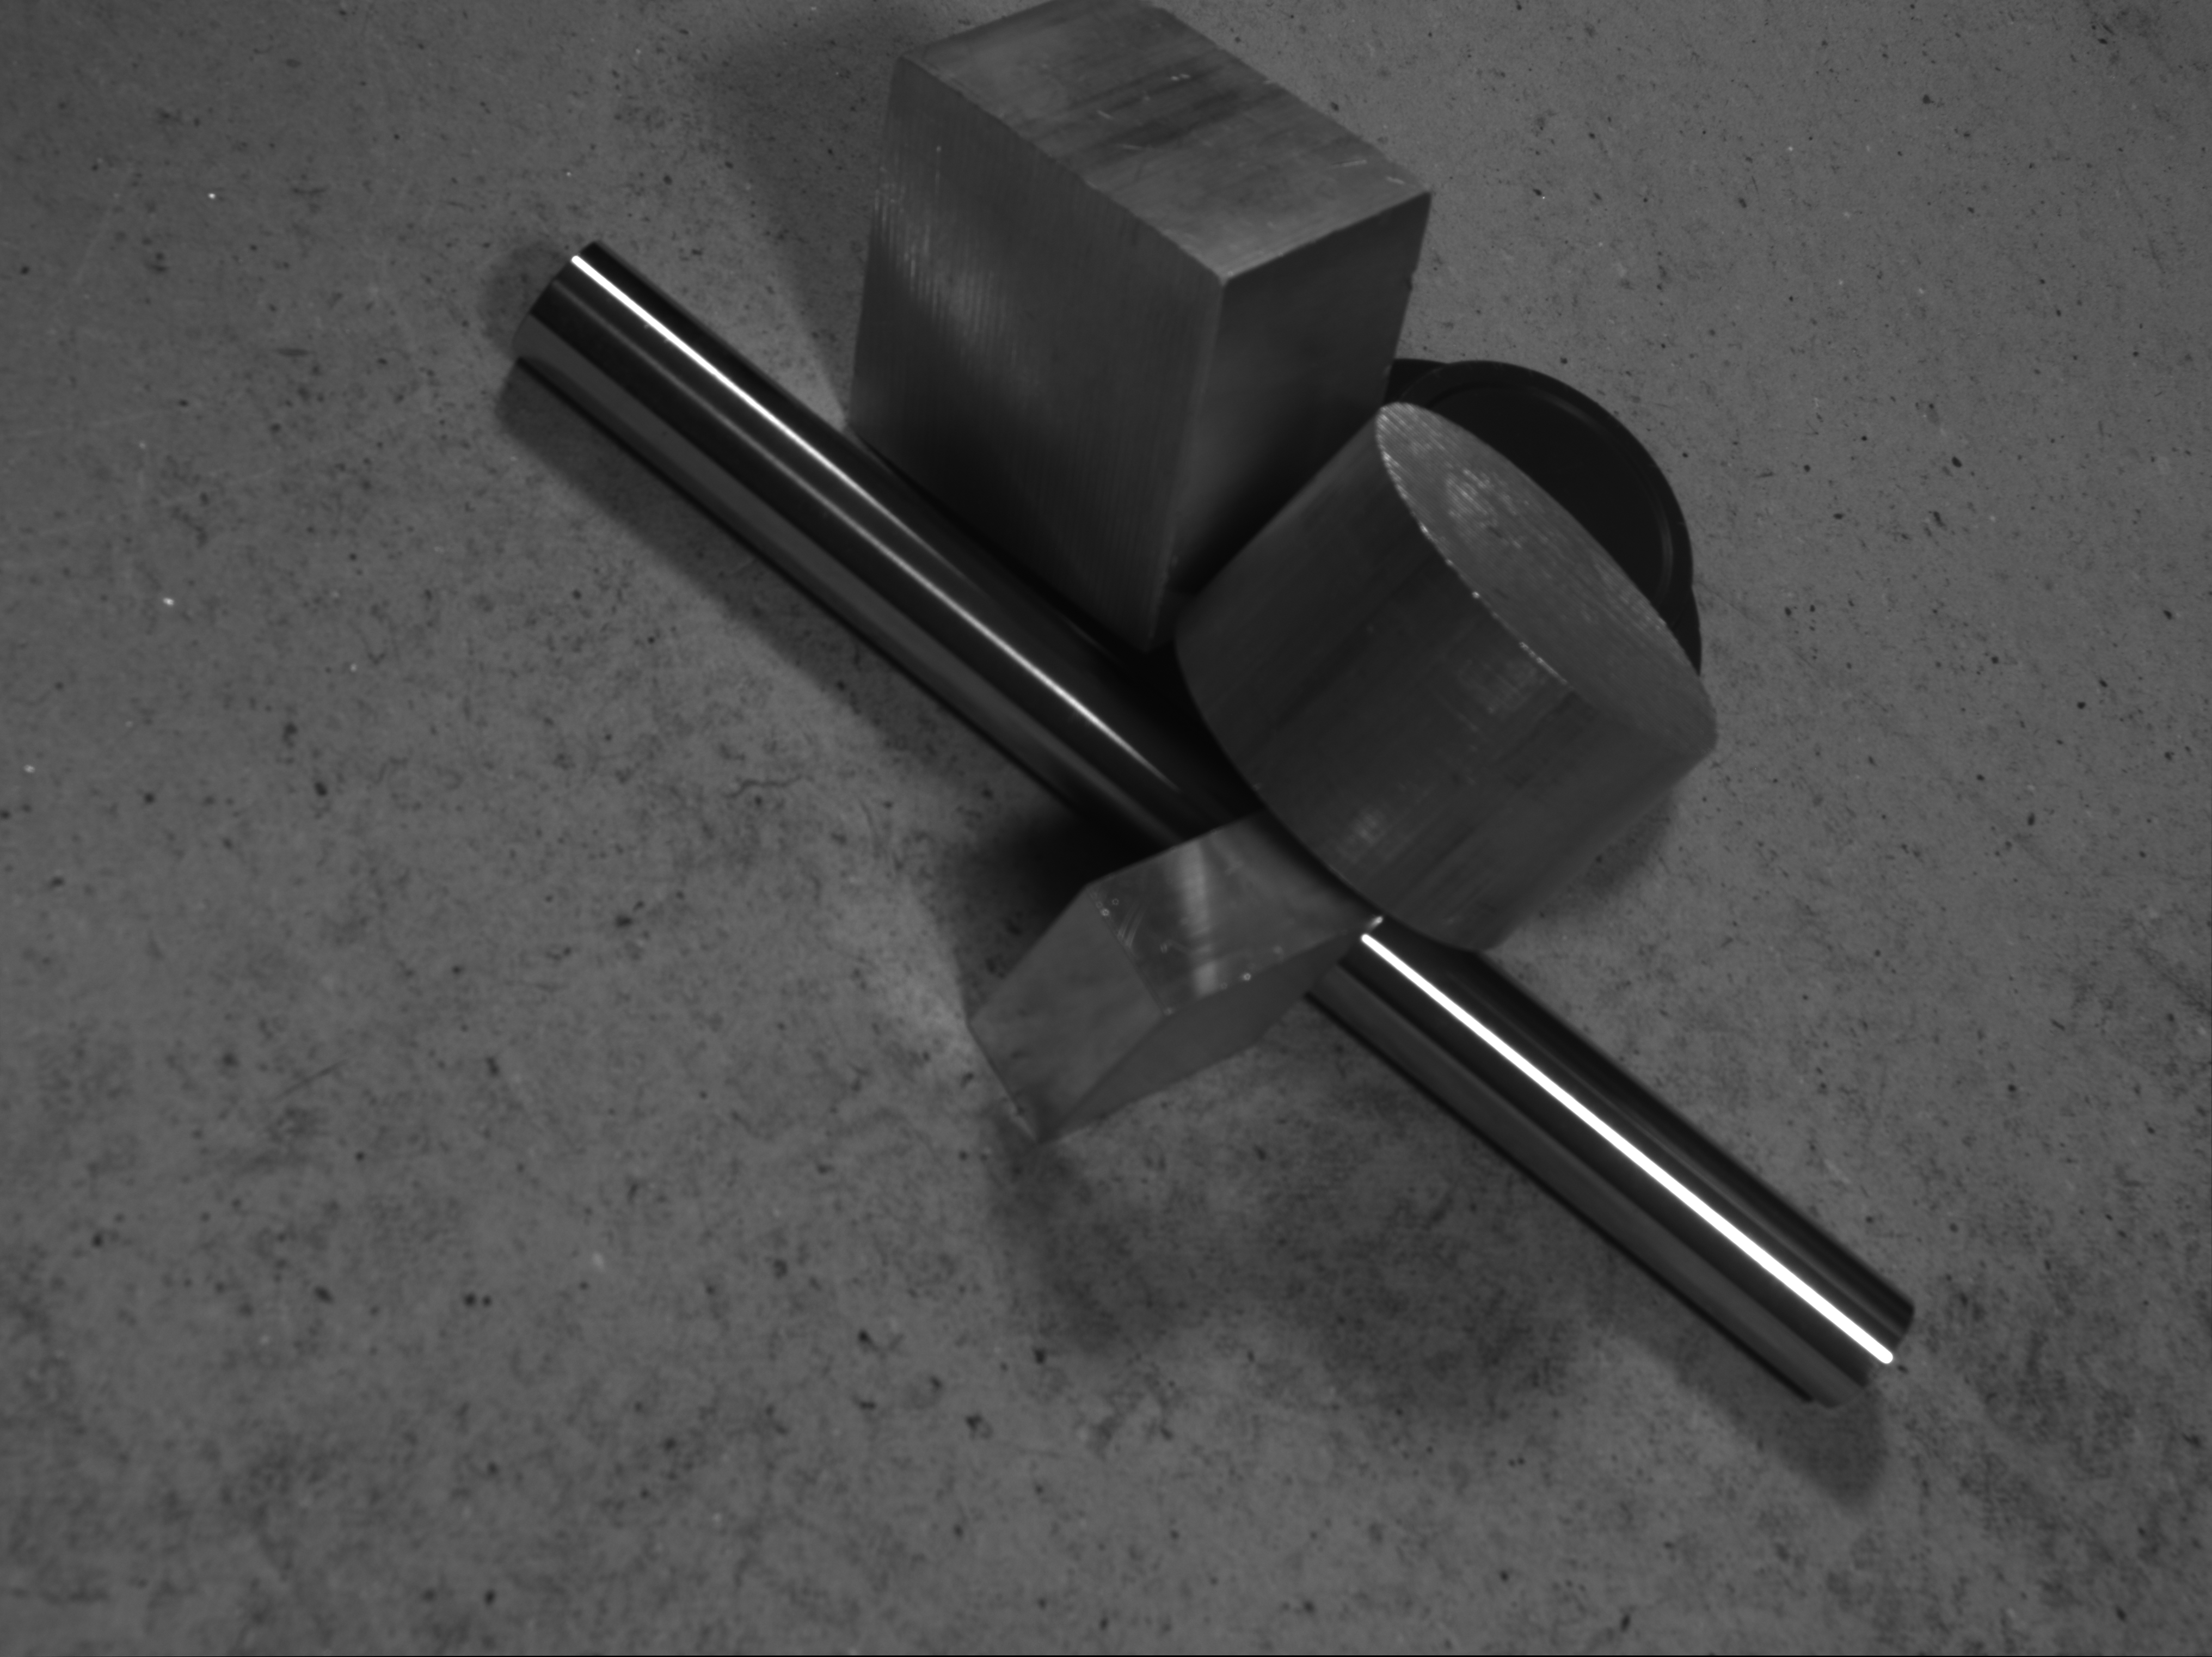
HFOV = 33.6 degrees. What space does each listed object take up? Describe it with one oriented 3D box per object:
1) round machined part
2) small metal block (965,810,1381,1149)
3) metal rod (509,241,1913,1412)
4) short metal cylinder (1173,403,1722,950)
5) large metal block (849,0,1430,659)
[{"bbox_3d":[0.073,-0.050,0.698,0.098,0.042,0.098,14,56,-21],"label":"round machined part"},{"bbox_3d":[0.011,0.024,0.616,0.050,0.050,0.025,-23,73,-37],"label":"small metal block"},{"bbox_3d":[0.019,0.000,0.651,0.300,0.025,0.025,39,51,-2],"label":"metal rod"},{"bbox_3d":[0.058,-0.026,0.623,0.080,0.050,0.080,36,24,-19],"label":"short metal cylinder"},{"bbox_3d":[0.004,-0.091,0.649,0.050,0.080,0.080,-30,56,-36],"label":"large metal block"}]
